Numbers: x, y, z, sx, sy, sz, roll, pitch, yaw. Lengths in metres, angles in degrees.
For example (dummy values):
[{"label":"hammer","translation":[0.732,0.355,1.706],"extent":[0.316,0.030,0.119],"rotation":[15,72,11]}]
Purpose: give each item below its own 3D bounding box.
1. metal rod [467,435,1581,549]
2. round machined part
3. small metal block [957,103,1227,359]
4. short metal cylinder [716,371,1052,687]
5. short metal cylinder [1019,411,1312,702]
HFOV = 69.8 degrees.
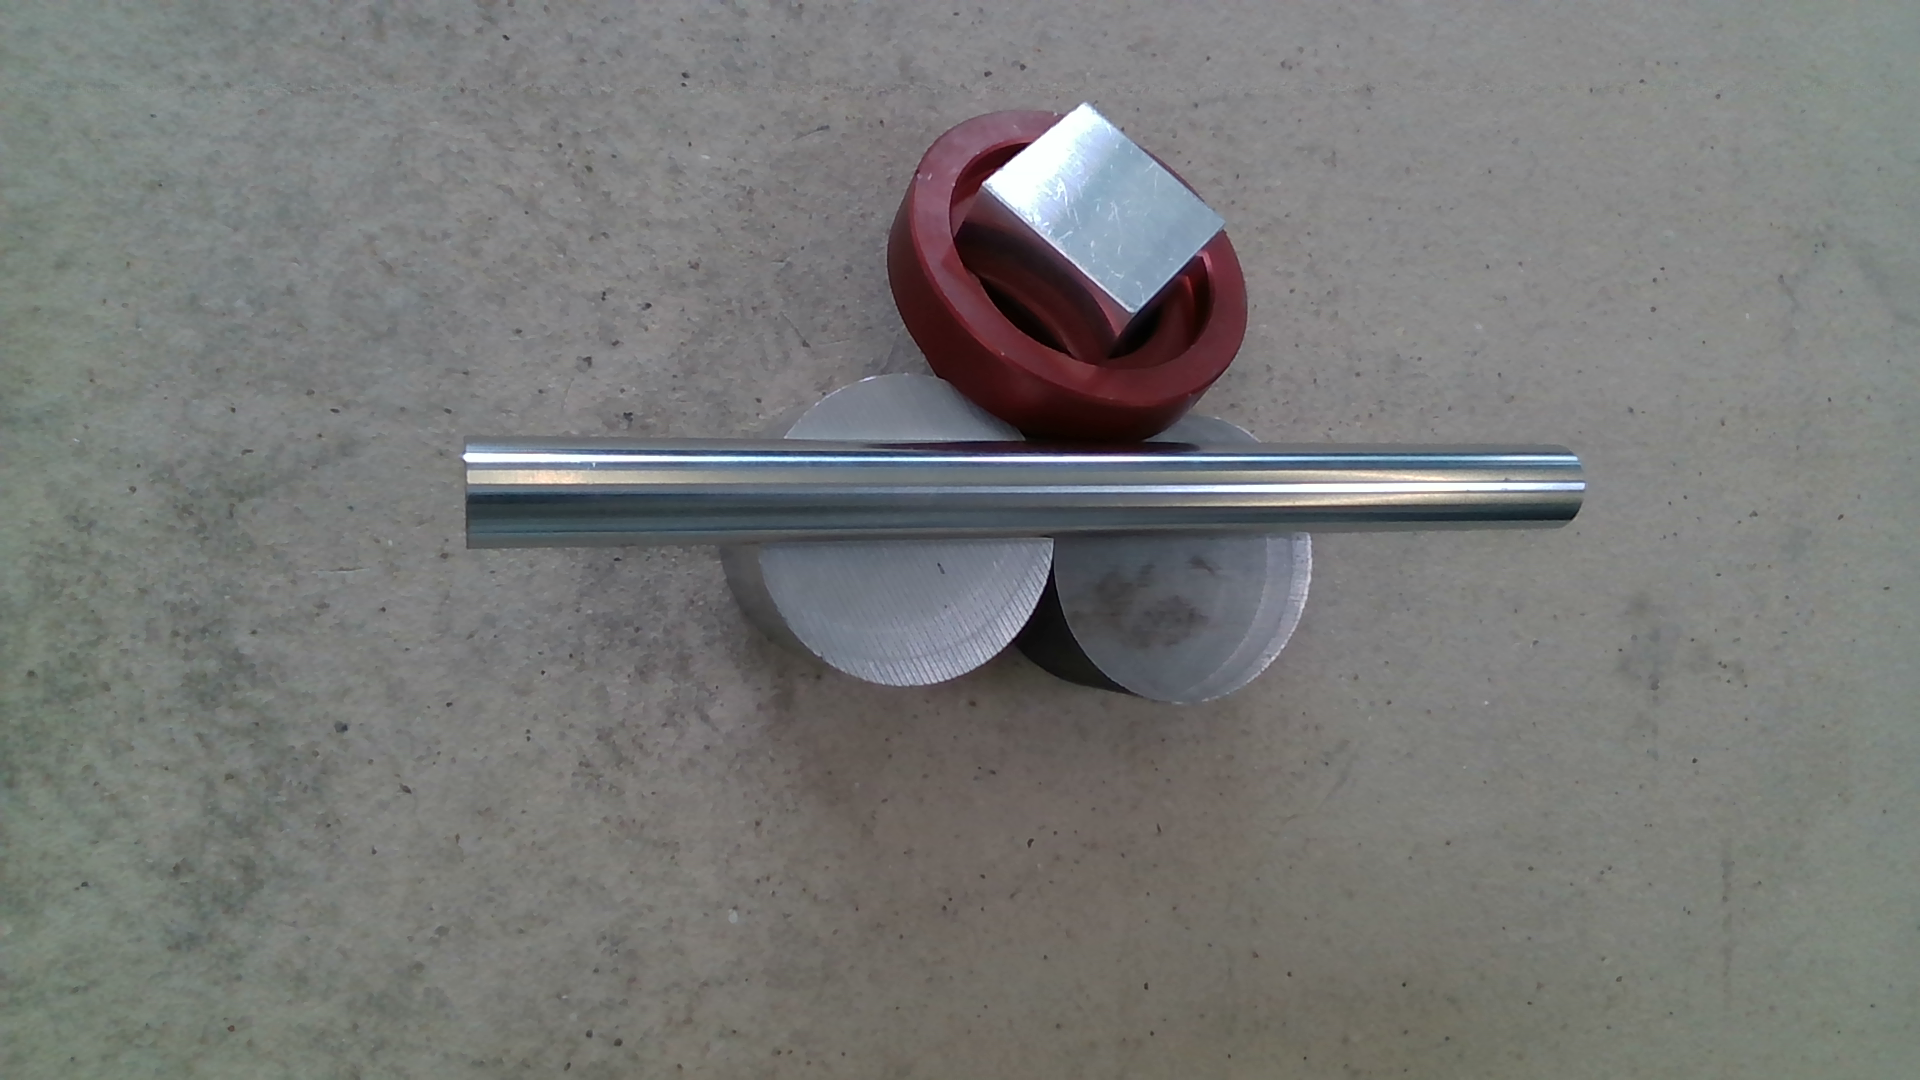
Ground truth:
[{"label":"metal rod","translation":[0.033,-0.013,0.353],"extent":[0.300,0.025,0.025],"rotation":[-1,90,-20]},{"label":"round machined part","translation":[0.026,-0.068,0.381],"extent":[0.098,0.042,0.098],"rotation":[11,57,-17]},{"label":"small metal block","translation":[0.034,-0.081,0.363],"extent":[0.050,0.025,0.050],"rotation":[41,54,4]},{"label":"short metal cylinder","translation":[-0.022,-0.003,0.373],"extent":[0.080,0.050,0.080],"rotation":[0,90,-21]},{"label":"short metal cylinder","translation":[0.054,0.005,0.401],"extent":[0.080,0.050,0.080],"rotation":[0,90,-20]}]
